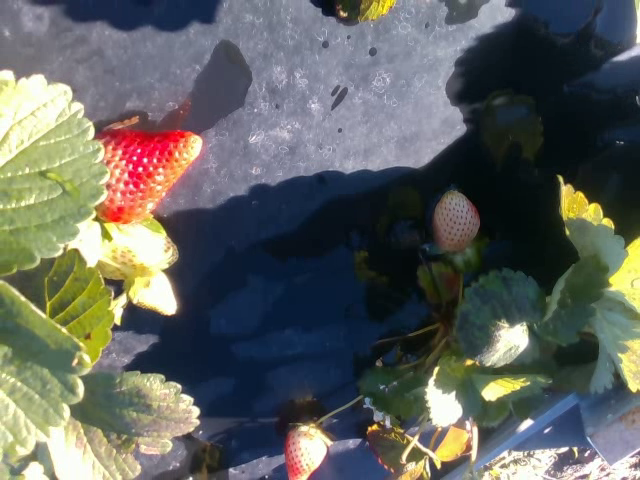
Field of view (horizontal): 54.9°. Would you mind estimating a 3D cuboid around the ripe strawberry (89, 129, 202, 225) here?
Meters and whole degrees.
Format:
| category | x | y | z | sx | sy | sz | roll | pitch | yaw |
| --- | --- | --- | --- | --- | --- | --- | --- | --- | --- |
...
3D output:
| category | x | y | z | sx | sy | sz | roll | pitch | yaw |
| --- | --- | --- | --- | --- | --- | --- | --- | --- | --- |
| ripe strawberry | -0.077 | -0.034 | 0.266 | 0.064 | 0.052 | 0.050 | -28 | -17 | 9 |
